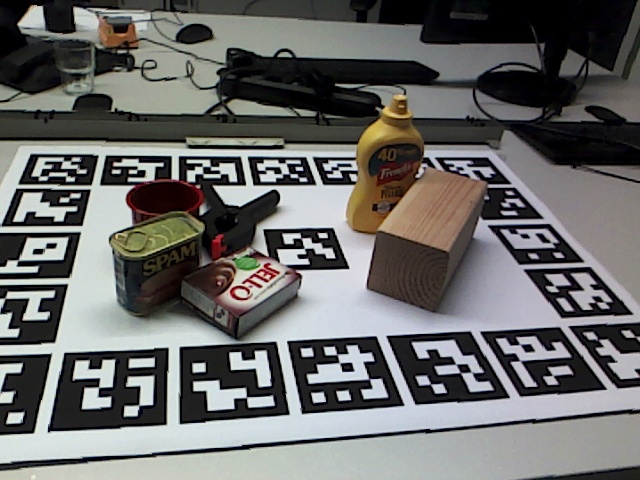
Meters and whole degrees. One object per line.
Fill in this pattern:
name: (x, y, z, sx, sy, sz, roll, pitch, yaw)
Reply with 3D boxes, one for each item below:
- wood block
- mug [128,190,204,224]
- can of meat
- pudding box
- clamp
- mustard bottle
wood block: (0.149, -0.003, 0.813, 0.090, 0.091, 0.206, 18, 33, 20)
mug: (-0.194, -0.012, 0.808, 0.093, 0.081, 0.117, 11, 35, 7)
can of meat: (-0.182, 0.025, 0.702, 0.101, 0.083, 0.058, -22, 44, -36)
pudding box: (-0.085, 0.058, 0.720, 0.090, 0.038, 0.113, 29, 38, 29)
clamp: (-0.122, -0.033, 0.859, 0.122, 0.036, 0.165, 11, 36, 3)
mustard bottle: (0.095, -0.106, 0.858, 0.096, 0.191, 0.059, -5, 36, -16)
